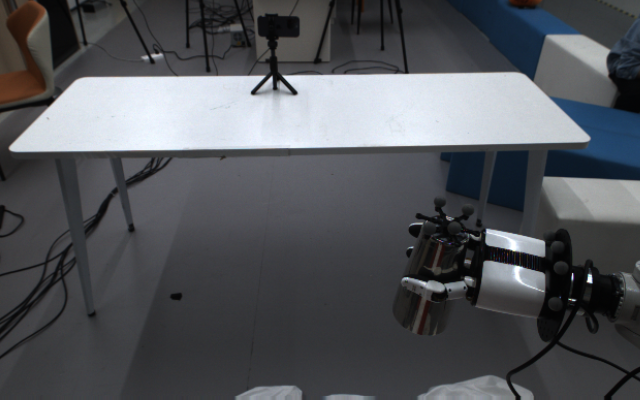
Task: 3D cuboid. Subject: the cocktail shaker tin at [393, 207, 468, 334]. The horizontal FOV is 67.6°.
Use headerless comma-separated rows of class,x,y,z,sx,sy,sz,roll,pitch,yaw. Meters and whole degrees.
cocktail shaker tin,0.169,0.107,0.718,0.093,0.170,0.093,4,36,-3
